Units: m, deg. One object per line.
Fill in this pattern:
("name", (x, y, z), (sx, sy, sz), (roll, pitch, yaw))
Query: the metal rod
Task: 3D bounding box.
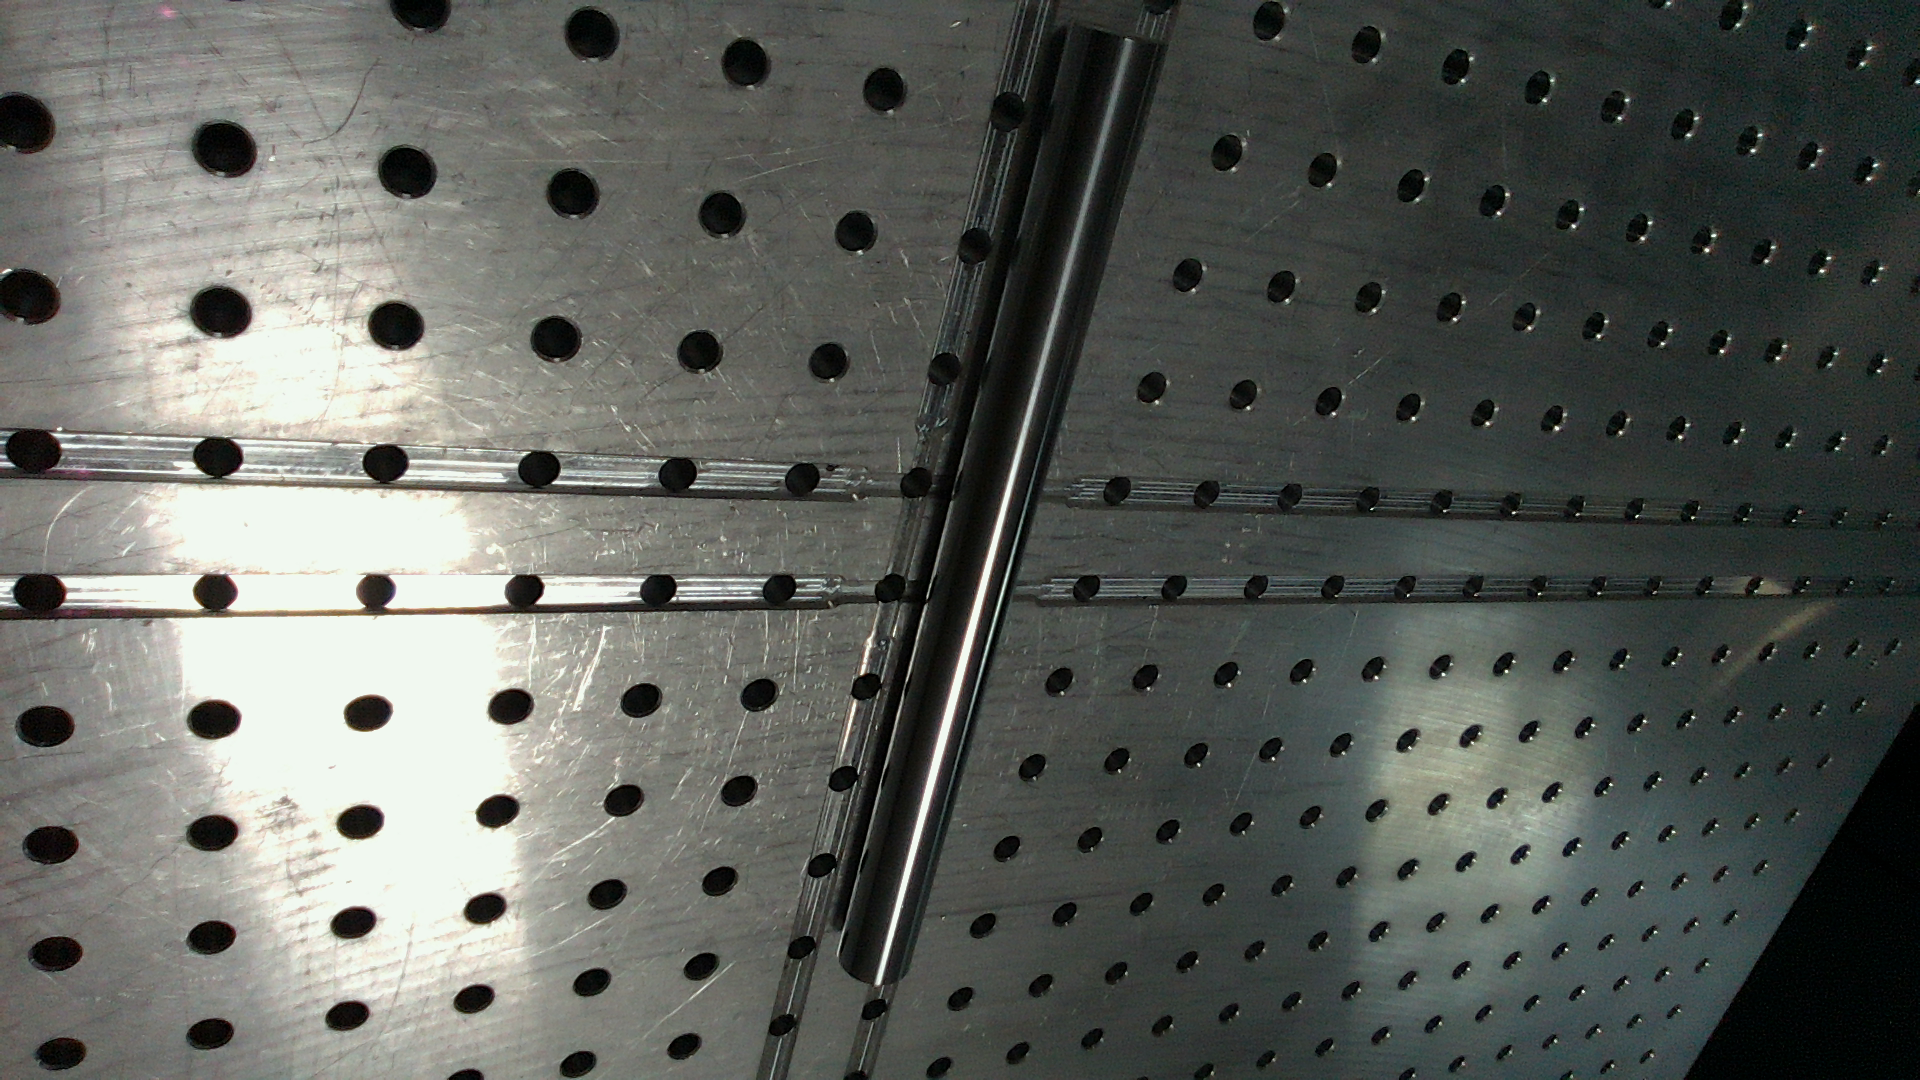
("metal rod", (0.005, 0.008, 0.399), (0.025, 0.025, 0.300), (0, 118, -28))
